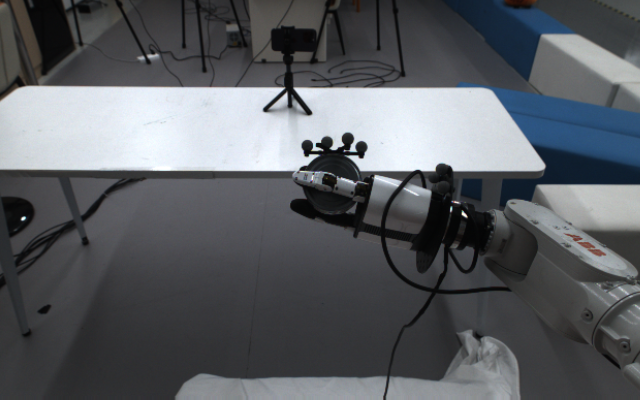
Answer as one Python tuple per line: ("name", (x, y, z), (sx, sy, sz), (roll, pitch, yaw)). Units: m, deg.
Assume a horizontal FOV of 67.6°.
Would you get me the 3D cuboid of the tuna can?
("tuna can", (0.018, -0.023, 0.700), (0.085, 0.034, 0.085), (-1, 76, 4))
